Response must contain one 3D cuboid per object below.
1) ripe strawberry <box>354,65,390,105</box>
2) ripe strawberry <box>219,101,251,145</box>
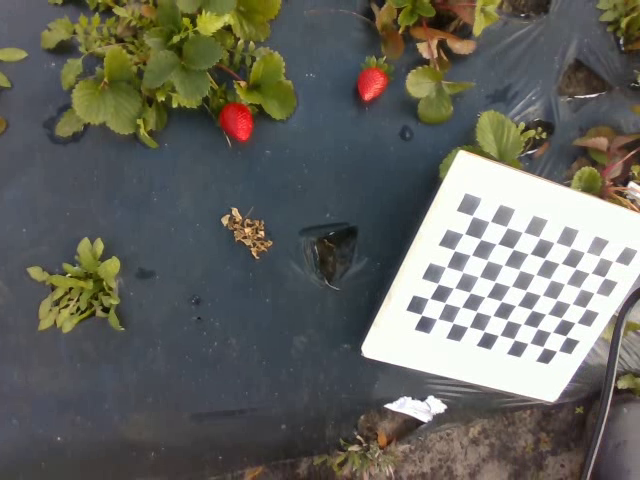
[{"bbox_3d":[0.057,-0.170,1.036,0.041,0.052,0.044,-7,-34,40],"label":"ripe strawberry"},{"bbox_3d":[-0.090,-0.123,1.005,0.050,0.050,0.046,13,-47,-32],"label":"ripe strawberry"}]
